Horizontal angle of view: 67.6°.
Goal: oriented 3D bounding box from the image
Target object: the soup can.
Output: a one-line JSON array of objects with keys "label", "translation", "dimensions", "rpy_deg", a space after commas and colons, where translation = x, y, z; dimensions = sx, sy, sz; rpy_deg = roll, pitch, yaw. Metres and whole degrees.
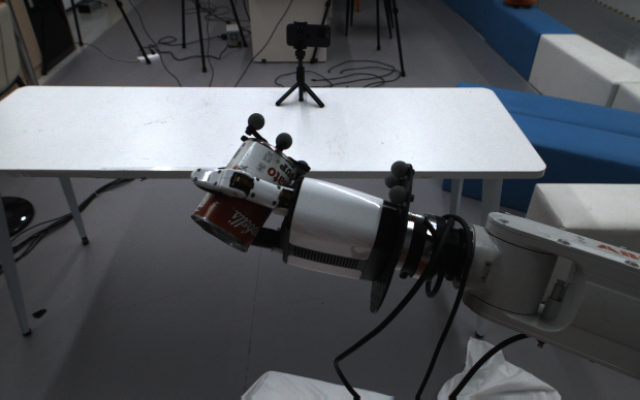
[{"label": "soup can", "translation": [-0.077, -0.005, 0.507], "dimensions": [0.067, 0.067, 0.101], "rpy_deg": [23, 72, 27]}]
